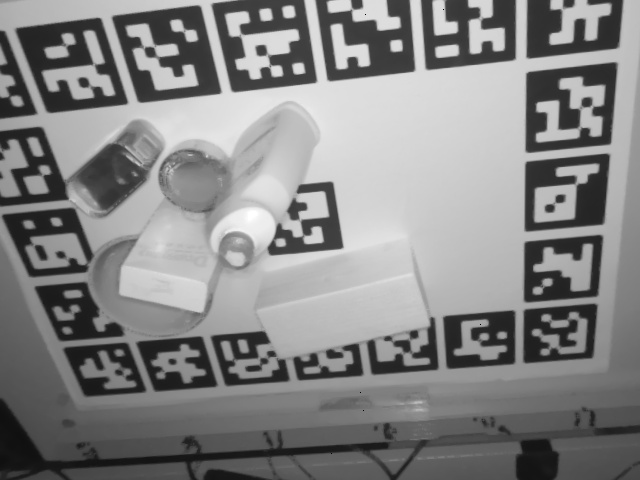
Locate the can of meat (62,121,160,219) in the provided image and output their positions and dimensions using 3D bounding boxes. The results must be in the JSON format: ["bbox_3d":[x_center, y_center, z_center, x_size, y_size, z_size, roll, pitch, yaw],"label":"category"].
[{"bbox_3d":[-0.240,-0.085,0.814,0.100,0.084,0.058,-32,116,21],"label":"can of meat"}]

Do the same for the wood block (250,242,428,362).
[{"bbox_3d":[0.028,0.081,0.893,0.205,0.091,0.090,-13,114,11],"label":"wood block"}]

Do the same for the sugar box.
[{"bbox_3d":[-0.170,0.011,0.805,0.093,0.177,0.045,12,118,-7],"label":"sugar box"}]

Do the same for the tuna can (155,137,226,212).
[{"bbox_3d":[-0.151,-0.079,0.834,0.086,0.034,0.085,1,117,2],"label":"tuna can"}]

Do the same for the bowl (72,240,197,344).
[{"bbox_3d":[-0.234,0.056,0.907,0.162,0.055,0.160,-1,120,-1],"label":"bowl"}]

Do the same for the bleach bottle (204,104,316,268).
[{"bbox_3d":[-0.062,-0.055,0.722,0.101,0.253,0.068,-28,116,18],"label":"bleach bottle"}]
